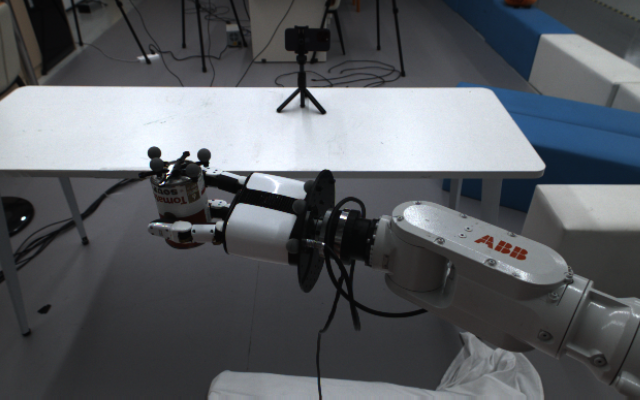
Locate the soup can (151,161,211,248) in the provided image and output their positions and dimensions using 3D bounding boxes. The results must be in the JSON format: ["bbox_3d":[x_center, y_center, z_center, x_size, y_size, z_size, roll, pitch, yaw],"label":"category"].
[{"bbox_3d":[-0.183,0.007,0.652,0.067,0.101,0.067,-2,33,1],"label":"soup can"}]
